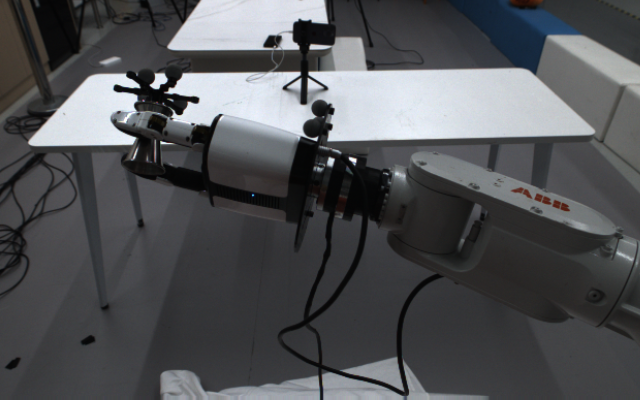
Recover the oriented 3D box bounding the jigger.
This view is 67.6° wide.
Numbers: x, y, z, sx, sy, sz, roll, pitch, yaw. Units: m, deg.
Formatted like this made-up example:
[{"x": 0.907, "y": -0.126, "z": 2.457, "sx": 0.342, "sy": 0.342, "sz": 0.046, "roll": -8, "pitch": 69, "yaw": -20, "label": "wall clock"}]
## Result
[{"x": -0.180, "y": -0.065, "z": 0.512, "sx": 0.043, "sy": 0.043, "sz": 0.071, "roll": 4, "pitch": 75, "yaw": 2, "label": "jigger"}]
